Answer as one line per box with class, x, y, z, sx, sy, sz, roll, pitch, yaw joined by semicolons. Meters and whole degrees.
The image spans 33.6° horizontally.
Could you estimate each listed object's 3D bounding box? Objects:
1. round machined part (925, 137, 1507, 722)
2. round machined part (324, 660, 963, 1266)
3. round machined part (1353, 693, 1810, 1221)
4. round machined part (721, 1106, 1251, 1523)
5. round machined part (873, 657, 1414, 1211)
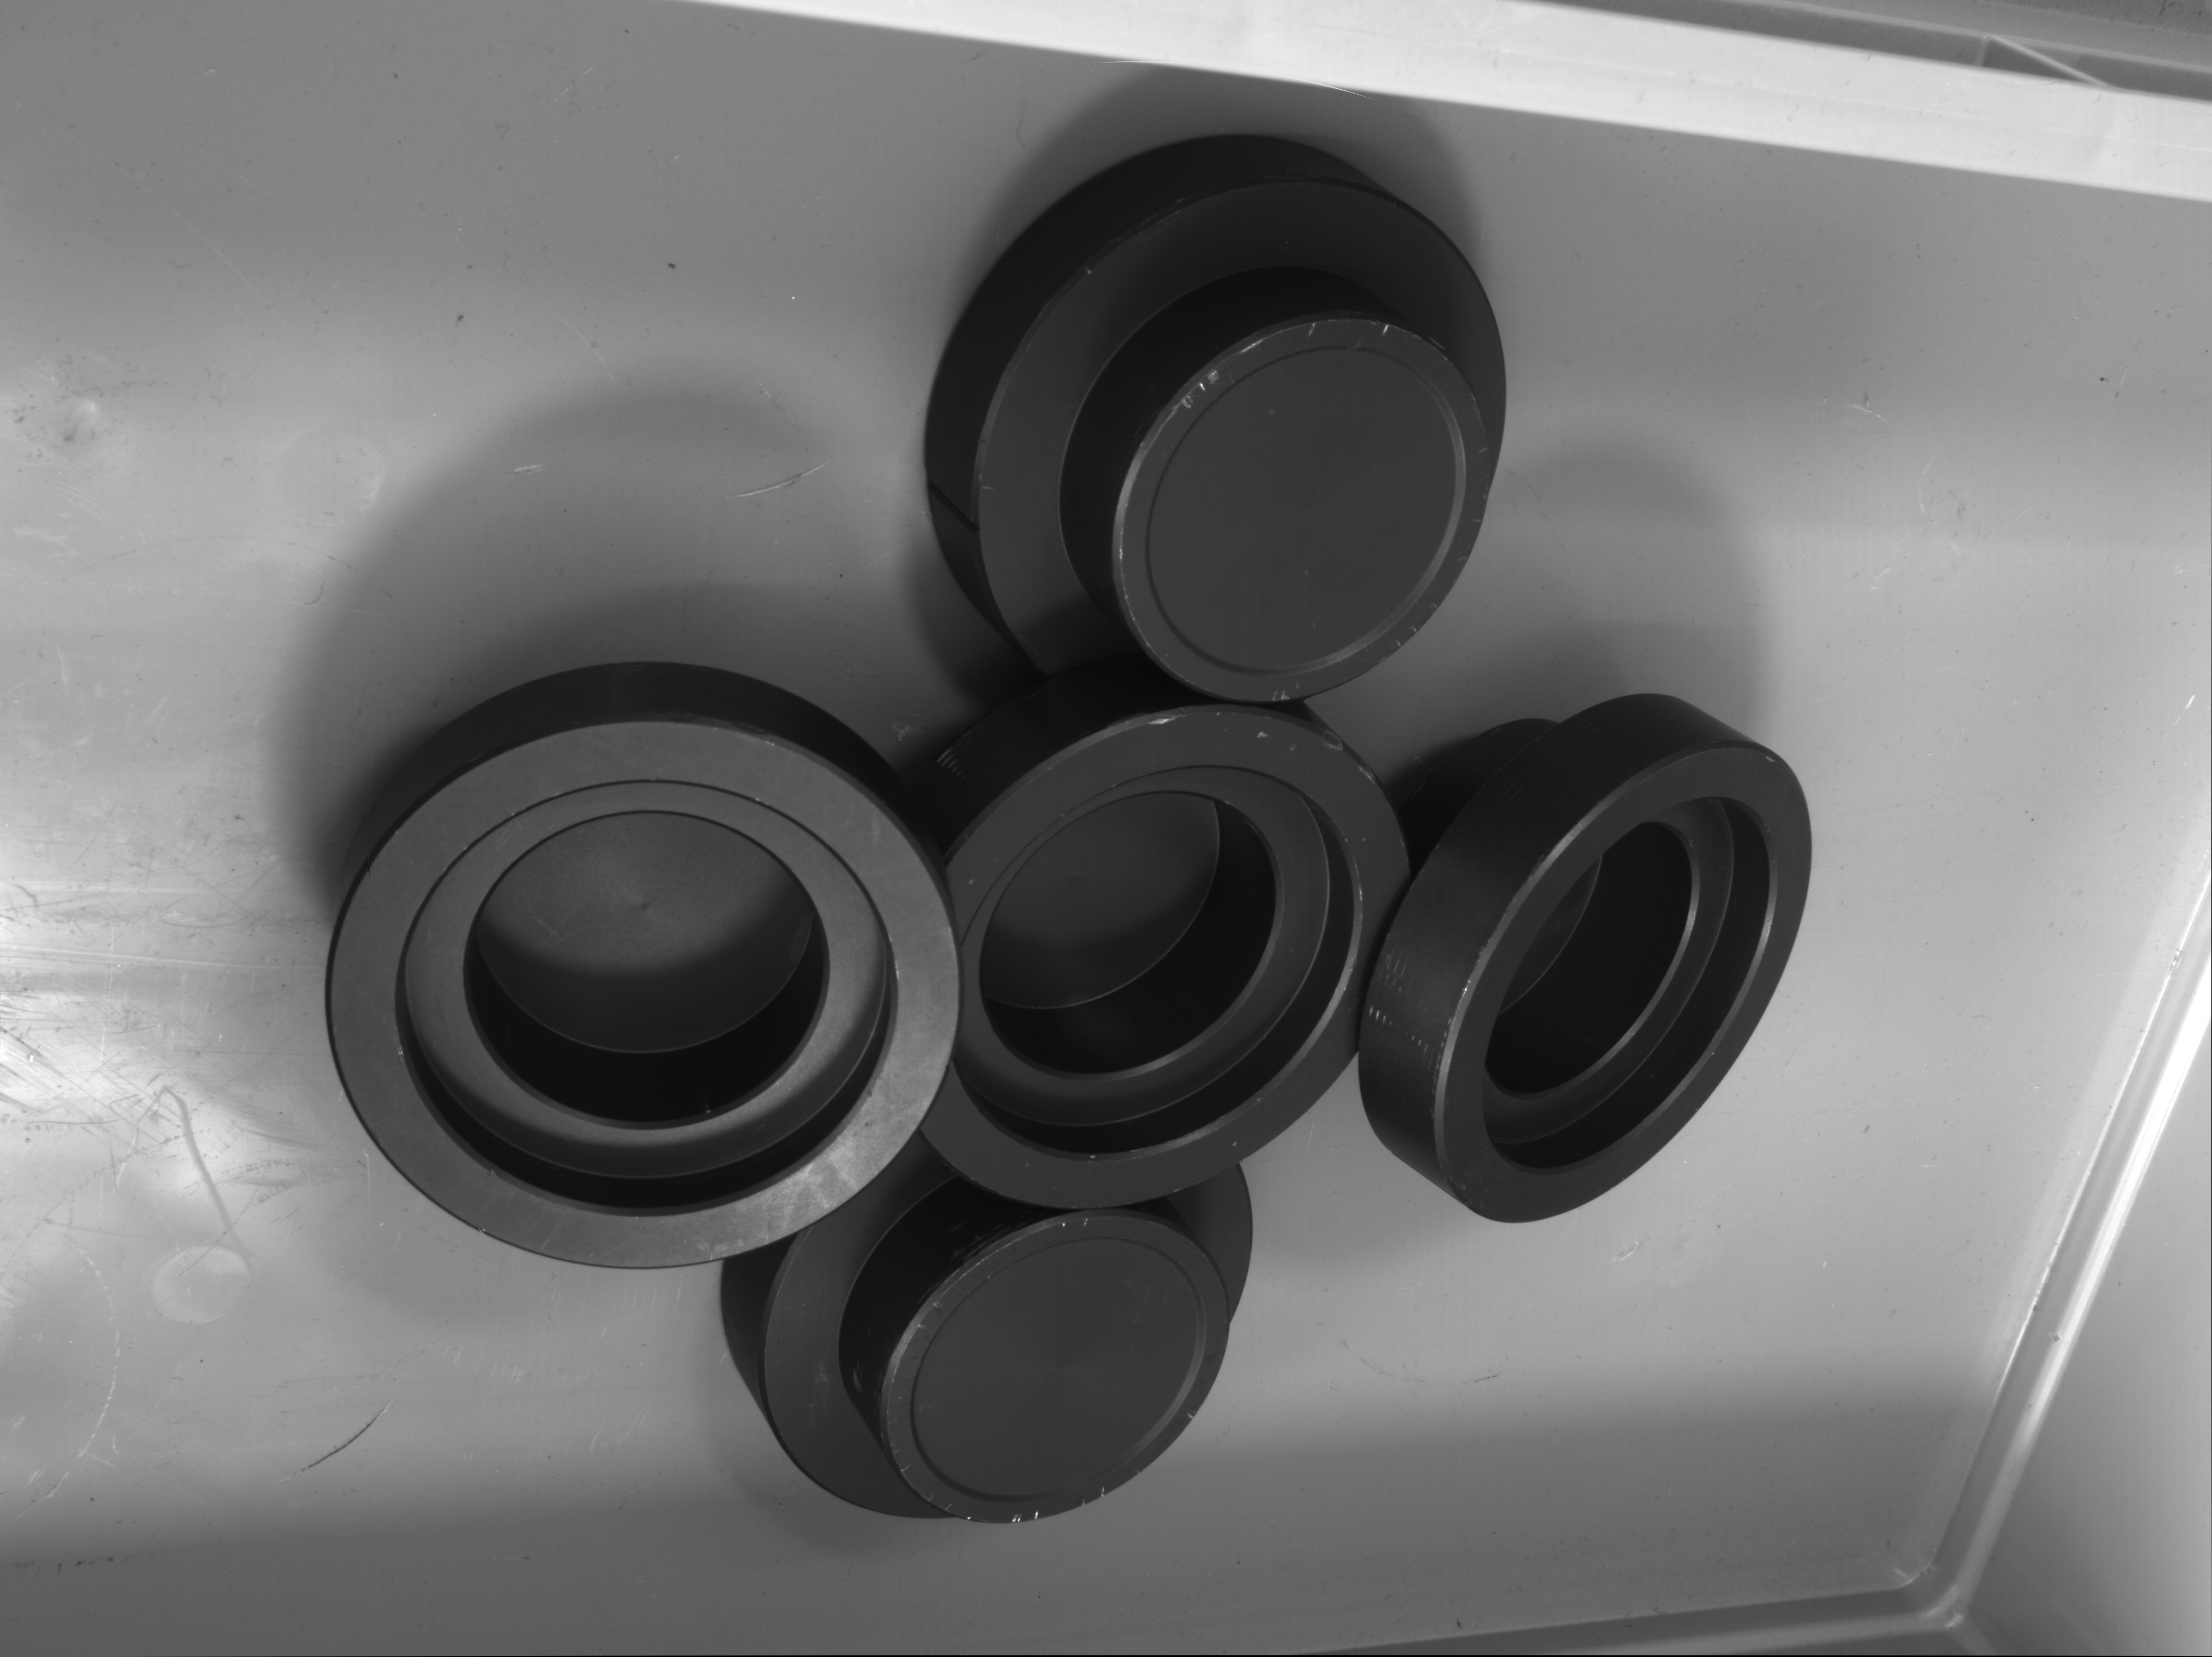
round machined part;0.023;-0.060;0.601;0.098;0.042;0.098;-14;124;-21
round machined part;-0.074;0.017;0.585;0.098;0.042;0.098;-4;117;-7
round machined part;0.080;0.019;0.669;0.098;0.042;0.098;-27;134;-31
round machined part;-0.017;0.087;0.668;0.098;0.042;0.098;-14;124;-21
round machined part;0.000;0.014;0.632;0.098;0.042;0.098;-14;124;-21
